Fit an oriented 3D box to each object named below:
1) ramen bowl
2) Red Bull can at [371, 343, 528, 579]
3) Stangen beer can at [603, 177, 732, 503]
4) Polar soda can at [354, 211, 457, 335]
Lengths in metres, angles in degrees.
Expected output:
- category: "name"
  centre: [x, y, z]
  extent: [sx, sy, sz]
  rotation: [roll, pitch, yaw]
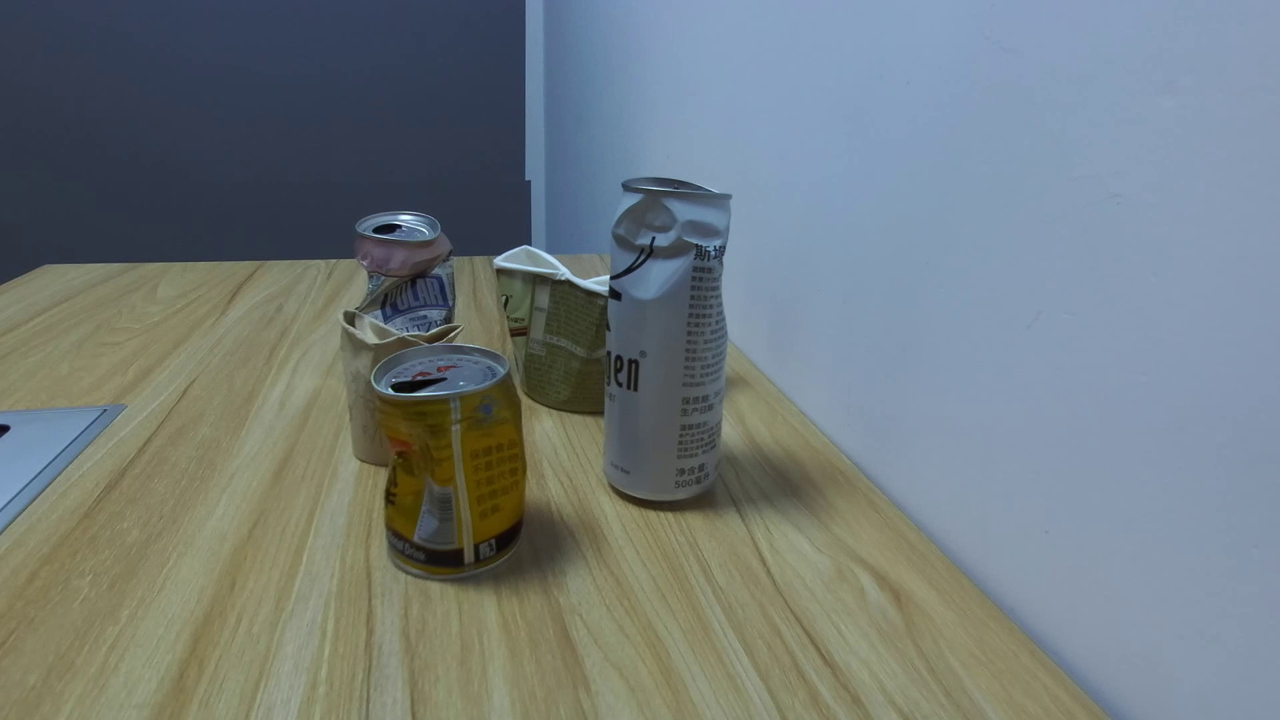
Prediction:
- category: "ramen bowl"
  centre: [-0.044, -0.028, 0.523]
  extent: [0.128, 0.093, 0.112]
  rotation: [15, 25, 25]
- category: "Red Bull can"
  centre: [-0.090, 0.046, 0.332]
  extent: [0.072, 0.092, 0.072]
  rotation: [1, 21, 0]
- category: "Stangen beer can"
  centre: [0.016, -0.008, 0.374]
  extent: [0.066, 0.166, 0.066]
  rotation: [12, 23, 23]
- category: "Polar soda can"
  centre: [-0.168, -0.037, 0.499]
  extent: [0.066, 0.121, 0.071]
  rotation: [6, 20, -1]
